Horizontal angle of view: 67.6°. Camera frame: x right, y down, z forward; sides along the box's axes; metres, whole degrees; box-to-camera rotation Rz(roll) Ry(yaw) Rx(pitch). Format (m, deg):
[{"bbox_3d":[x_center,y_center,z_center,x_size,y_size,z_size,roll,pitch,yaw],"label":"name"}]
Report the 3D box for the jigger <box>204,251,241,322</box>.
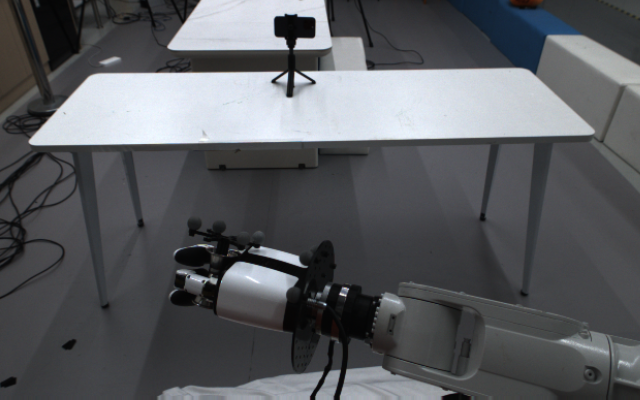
[{"bbox_3d":[-0.127,0.098,0.609,0.043,0.071,0.043,14,1,0],"label":"jigger"}]
